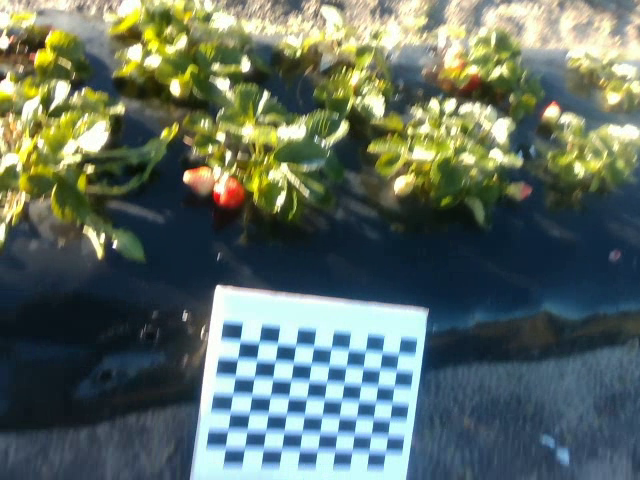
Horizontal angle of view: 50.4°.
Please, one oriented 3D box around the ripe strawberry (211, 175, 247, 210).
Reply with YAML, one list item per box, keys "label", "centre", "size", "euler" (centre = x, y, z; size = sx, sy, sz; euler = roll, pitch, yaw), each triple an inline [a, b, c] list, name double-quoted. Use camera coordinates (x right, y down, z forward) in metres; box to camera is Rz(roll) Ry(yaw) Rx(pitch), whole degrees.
- label: "ripe strawberry"
  centre: [-0.108, -0.057, 0.802]
  size: [0.040, 0.038, 0.055]
  euler: [-11, 1, 8]
